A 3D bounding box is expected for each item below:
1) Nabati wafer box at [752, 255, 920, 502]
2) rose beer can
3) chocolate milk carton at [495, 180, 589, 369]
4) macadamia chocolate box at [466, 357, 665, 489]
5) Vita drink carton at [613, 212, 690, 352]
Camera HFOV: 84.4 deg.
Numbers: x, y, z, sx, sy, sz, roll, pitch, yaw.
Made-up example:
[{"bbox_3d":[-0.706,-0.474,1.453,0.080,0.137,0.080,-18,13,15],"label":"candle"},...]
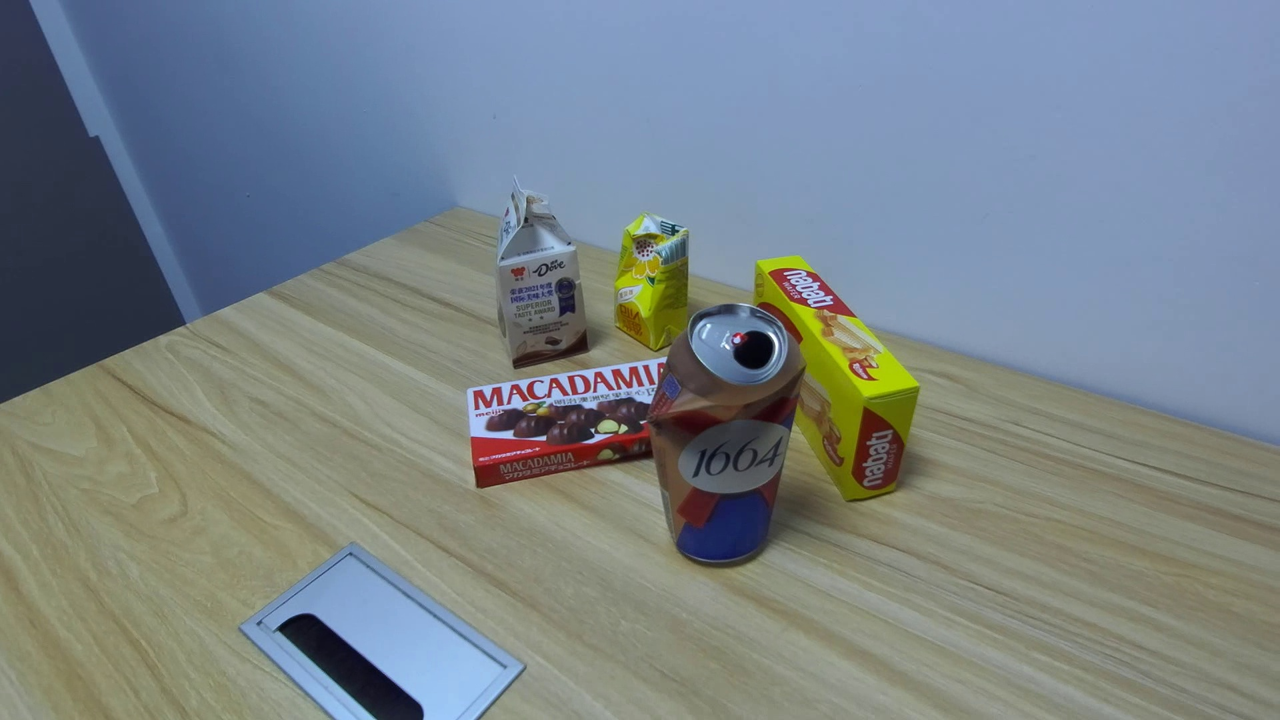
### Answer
[{"bbox_3d":[0.139,0.004,0.545,0.042,0.093,0.202,-9,35,-9],"label":"Nabati wafer box"},{"bbox_3d":[0.050,0.048,0.420,0.069,0.168,0.069,19,42,24],"label":"rose beer can"},{"bbox_3d":[-0.094,-0.082,0.628,0.073,0.155,0.084,-13,35,-14],"label":"chocolate milk carton"},{"bbox_3d":[-0.039,0.045,0.559,0.187,0.027,0.102,-10,37,-10],"label":"macadamia chocolate box"},{"bbox_3d":[0.008,-0.072,0.646,0.046,0.110,0.071,-24,38,-32],"label":"Vita drink carton"}]
